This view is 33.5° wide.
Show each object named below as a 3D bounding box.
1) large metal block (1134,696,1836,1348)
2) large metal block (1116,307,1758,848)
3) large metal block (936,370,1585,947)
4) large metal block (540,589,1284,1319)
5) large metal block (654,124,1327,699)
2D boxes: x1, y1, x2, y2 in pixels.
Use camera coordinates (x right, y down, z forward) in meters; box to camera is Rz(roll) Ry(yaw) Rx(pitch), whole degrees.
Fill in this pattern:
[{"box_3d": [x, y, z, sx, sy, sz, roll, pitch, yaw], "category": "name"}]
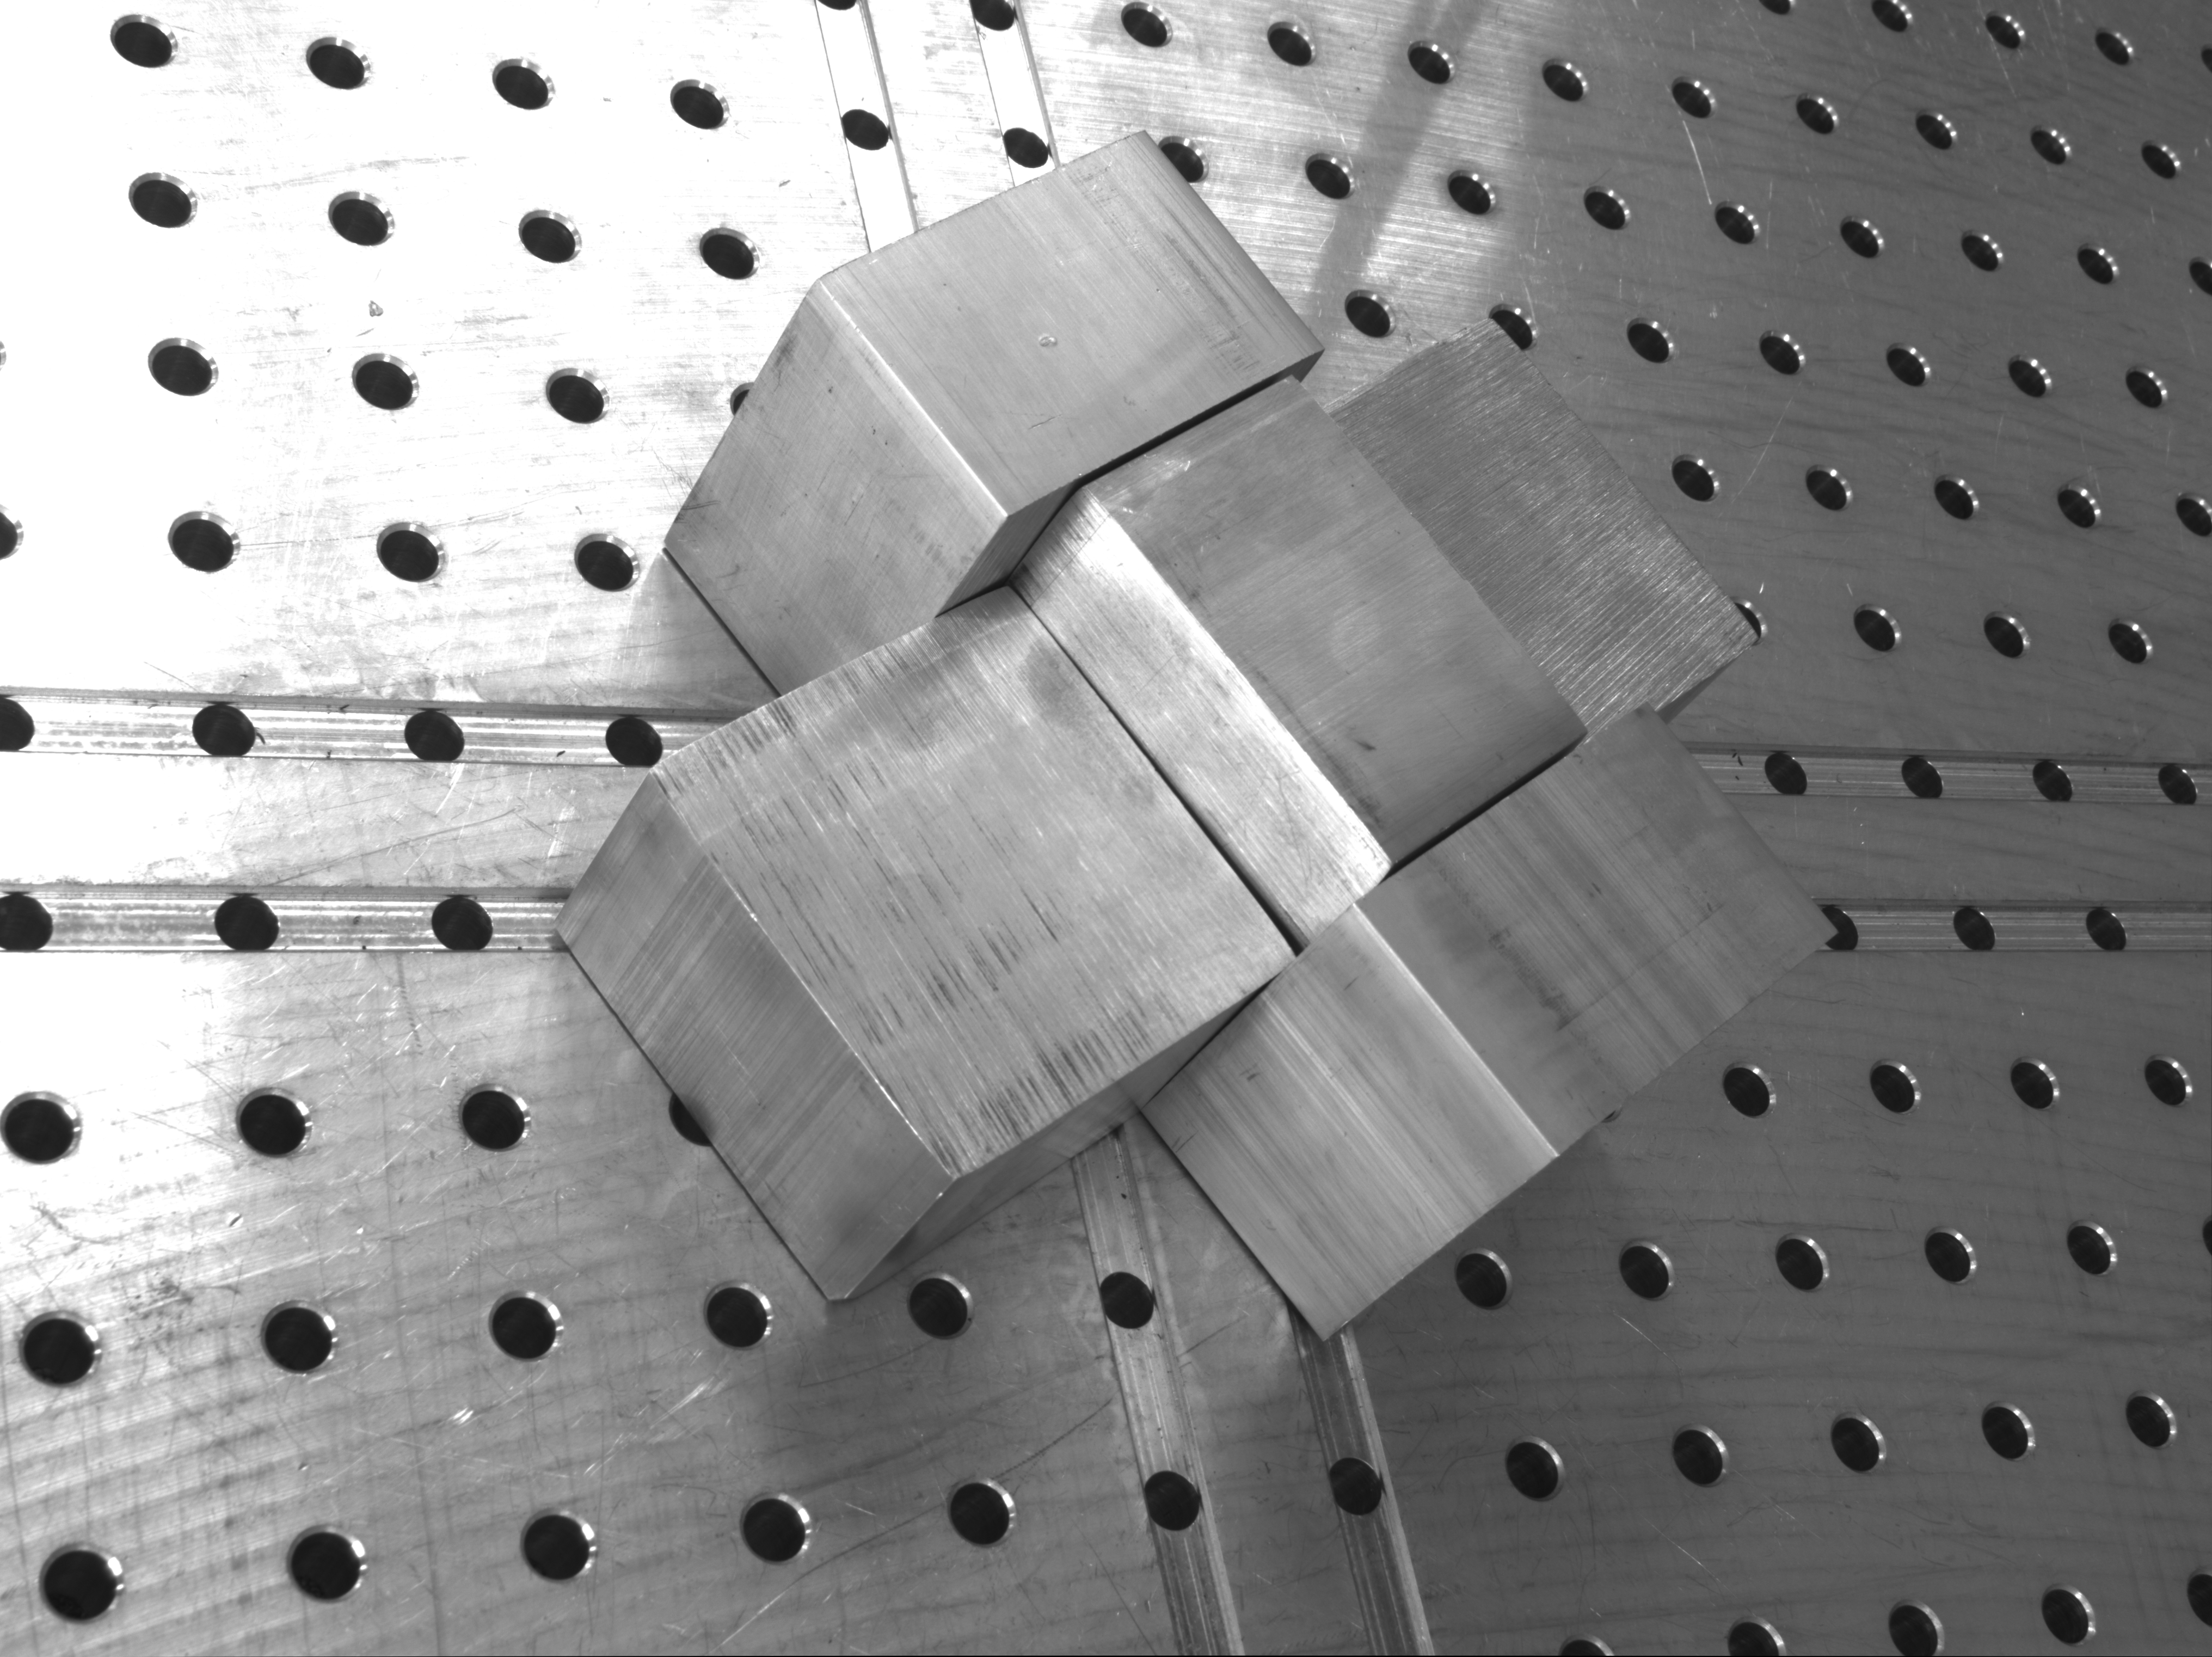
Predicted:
[{"box_3d": [0.063, 0.033, 0.620, 0.080, 0.080, 0.050, -32, 79, -39], "category": "large metal block"}, {"box_3d": [0.059, -0.038, 0.681, 0.080, 0.050, 0.080, -32, 82, -38], "category": "large metal block"}, {"box_3d": [0.021, -0.017, 0.629, 0.050, 0.080, 0.080, -32, 79, -38], "category": "large metal block"}, {"box_3d": [-0.031, 0.019, 0.599, 0.080, 0.050, 0.080, -30, 78, -37], "category": "large metal block"}, {"box_3d": [-0.021, -0.066, 0.636, 0.080, 0.080, 0.050, -32, 79, -38], "category": "large metal block"}]
